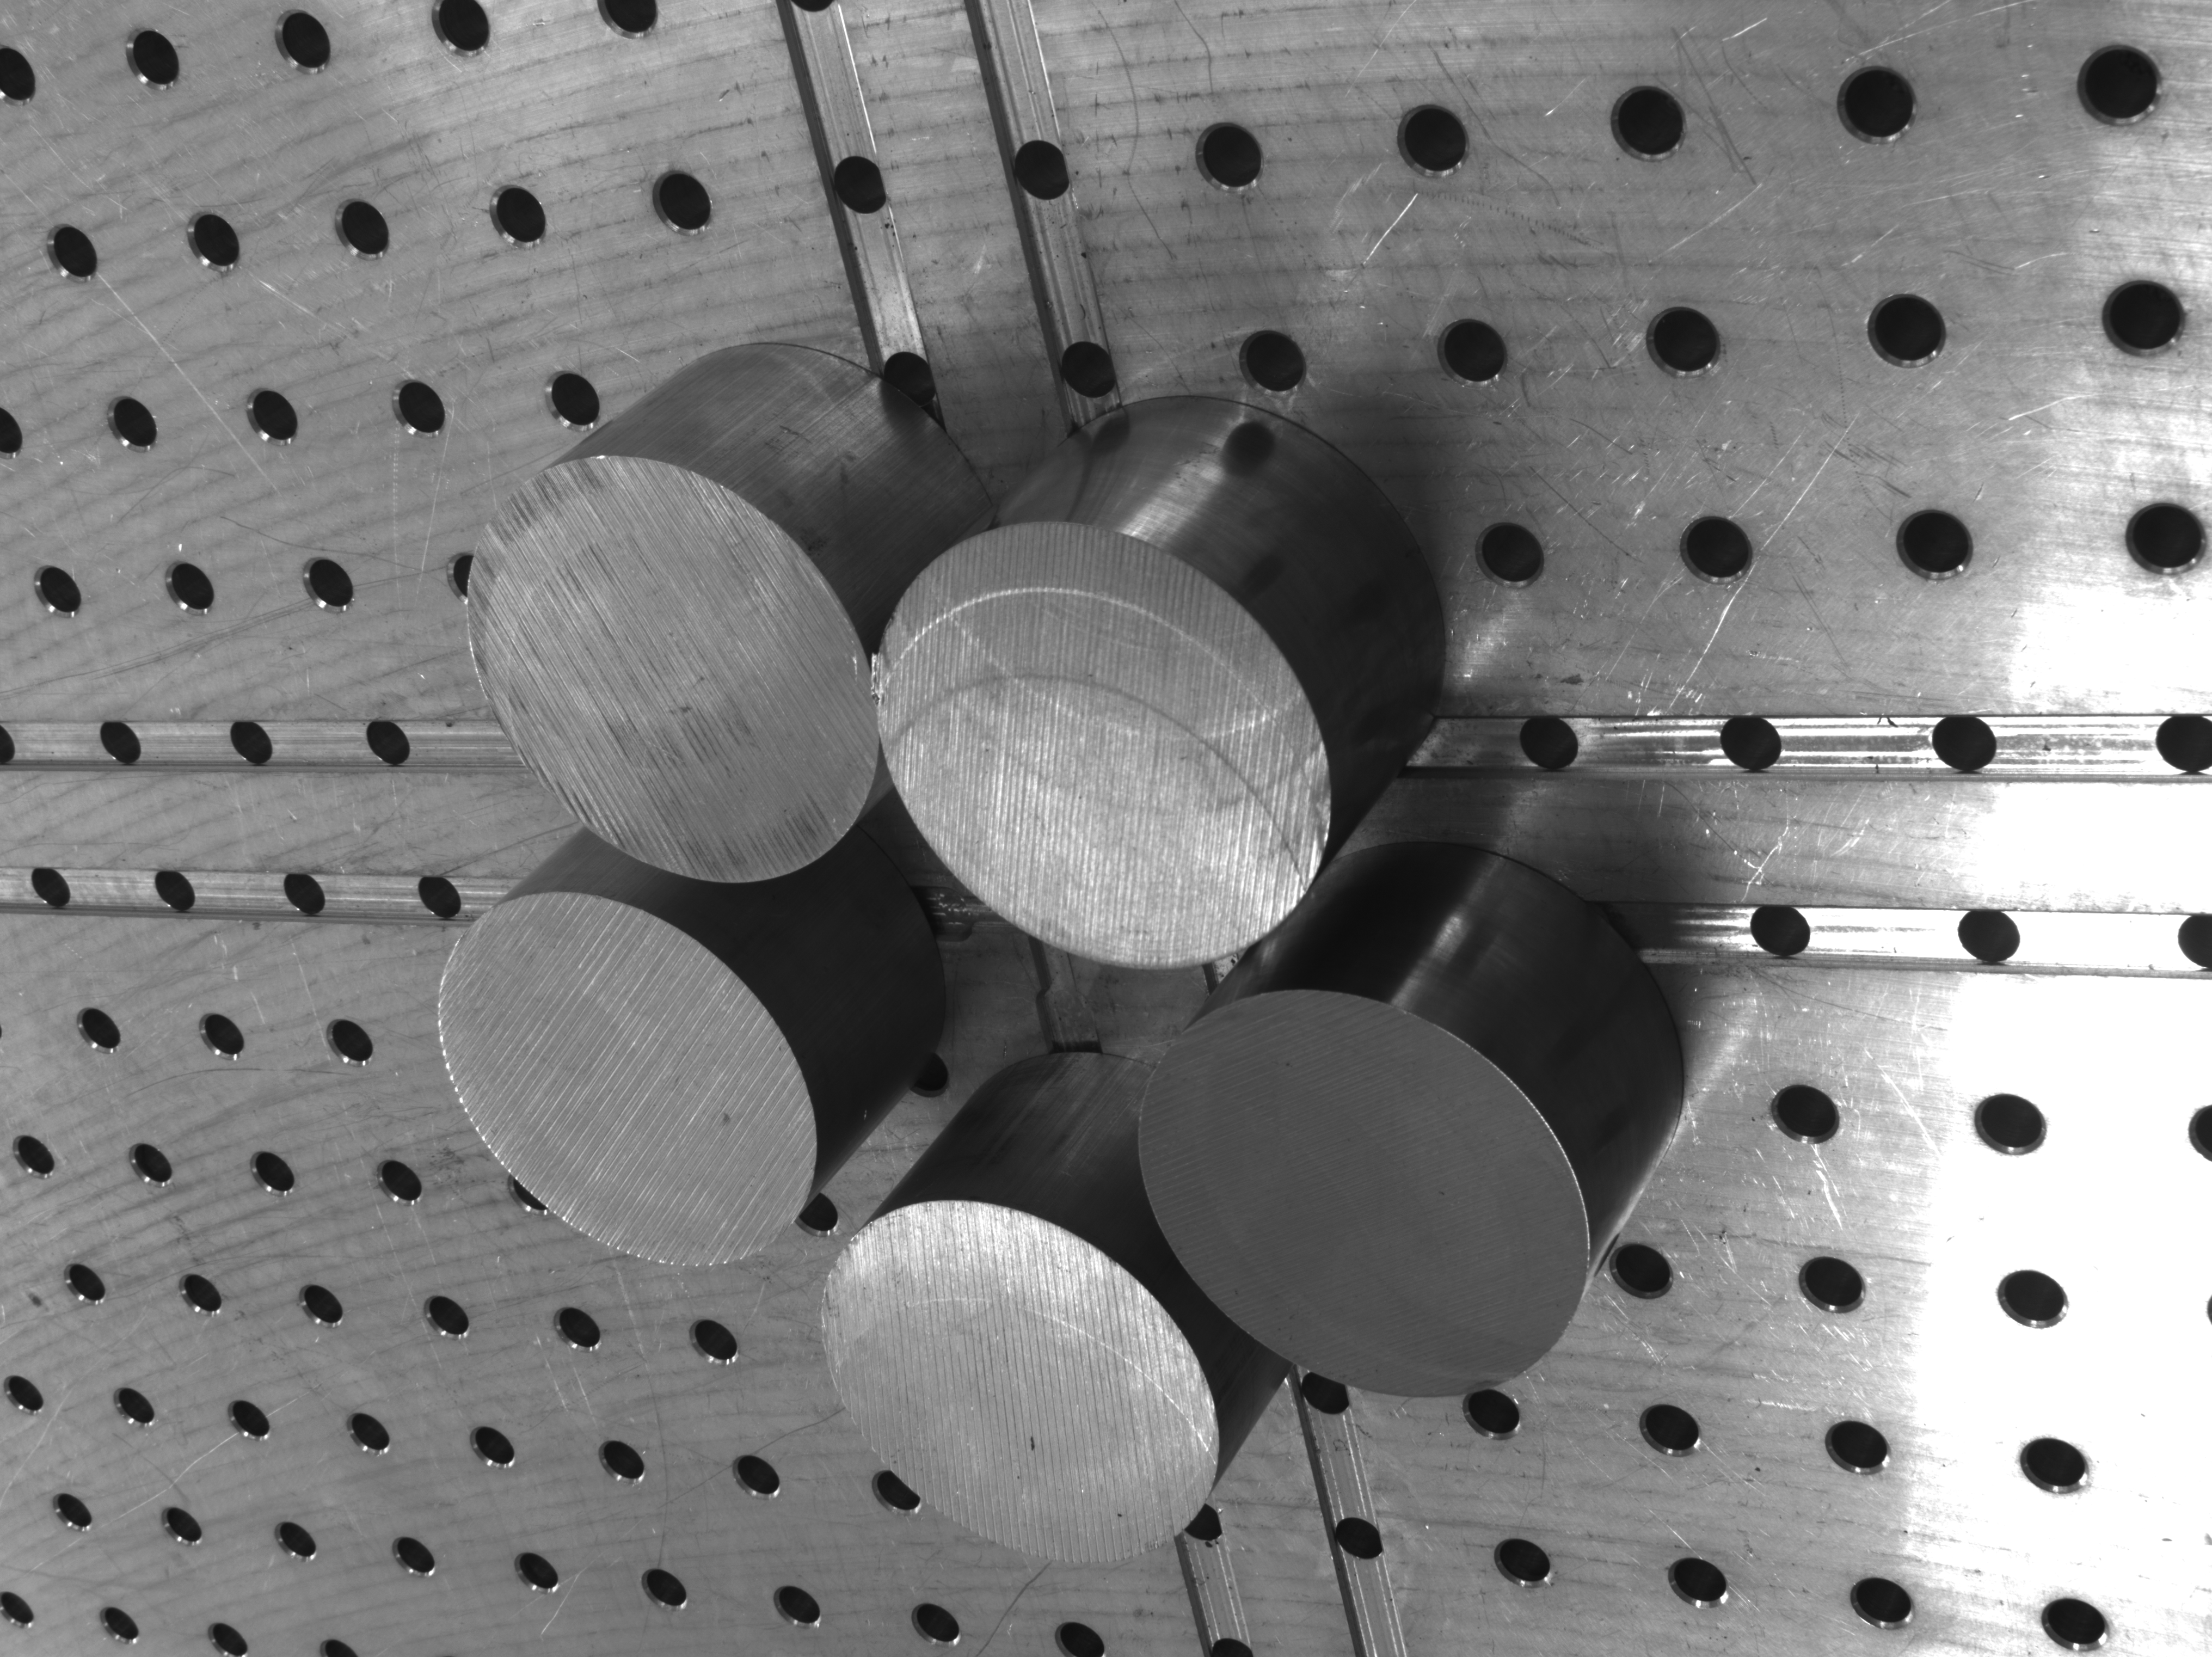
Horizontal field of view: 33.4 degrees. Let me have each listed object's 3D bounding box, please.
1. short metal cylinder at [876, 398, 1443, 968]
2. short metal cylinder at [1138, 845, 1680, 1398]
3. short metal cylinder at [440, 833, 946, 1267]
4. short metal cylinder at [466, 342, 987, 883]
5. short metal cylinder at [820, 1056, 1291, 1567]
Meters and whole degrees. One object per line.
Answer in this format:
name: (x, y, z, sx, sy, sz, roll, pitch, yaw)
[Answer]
short metal cylinder: (0.009, -0.024, 0.608, 0.080, 0.050, 0.080, 14, 124, 21)
short metal cylinder: (0.052, 0.050, 0.631, 0.080, 0.050, 0.080, 14, 125, 20)
short metal cylinder: (-0.077, 0.035, 0.692, 0.080, 0.050, 0.080, 13, 124, 21)
short metal cylinder: (-0.063, -0.038, 0.640, 0.080, 0.050, 0.080, 13, 124, 21)
short metal cylinder: (-0.006, 0.090, 0.686, 0.080, 0.050, 0.080, 14, 124, 22)
